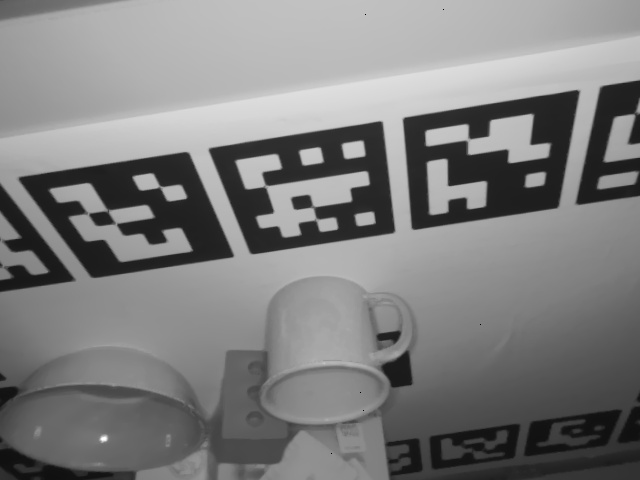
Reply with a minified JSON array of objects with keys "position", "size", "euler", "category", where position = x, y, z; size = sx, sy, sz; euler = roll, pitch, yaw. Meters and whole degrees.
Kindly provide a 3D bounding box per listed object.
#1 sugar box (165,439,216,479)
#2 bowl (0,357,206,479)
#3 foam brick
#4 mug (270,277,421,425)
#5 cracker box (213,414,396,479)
[{"position":[-0.120,0.274,0.644],"size":[0.093,0.177,0.045],"euler":[6,136,-12],"category":"sugar box"},{"position":[-0.174,0.145,0.575],"size":[0.162,0.055,0.160],"euler":[-3,136,-2],"category":"bowl"},{"position":[-0.049,0.144,0.593],"size":[0.053,0.078,0.051],"euler":[1,137,-8],"category":"foam brick"},{"position":[0.017,0.078,0.514],"size":[0.117,0.082,0.093],"euler":[-16,144,9],"category":"mug"},{"position":[-0.012,0.261,0.616],"size":[0.166,0.215,0.071],"euler":[12,137,-17],"category":"cracker box"}]
